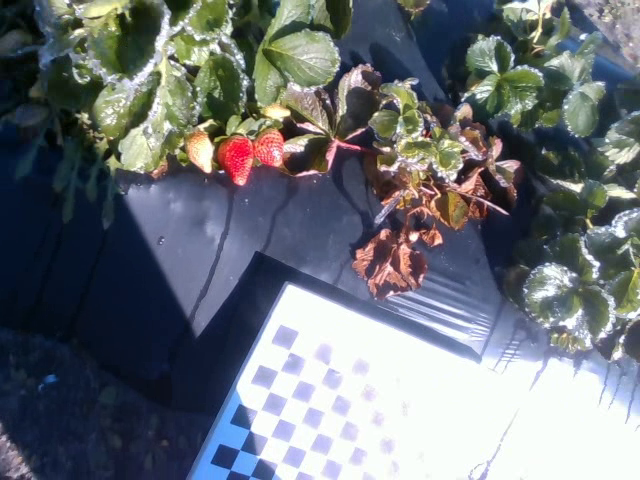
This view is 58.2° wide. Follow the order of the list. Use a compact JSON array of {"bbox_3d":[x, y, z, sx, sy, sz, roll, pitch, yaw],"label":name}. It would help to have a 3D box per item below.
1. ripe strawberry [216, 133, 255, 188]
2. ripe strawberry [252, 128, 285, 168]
[{"bbox_3d":[-0.076,-0.072,0.544,0.036,0.052,0.040,-13,-22,-8],"label":"ripe strawberry"},{"bbox_3d":[-0.046,-0.091,0.563,0.036,0.041,0.030,-37,11,0],"label":"ripe strawberry"}]
